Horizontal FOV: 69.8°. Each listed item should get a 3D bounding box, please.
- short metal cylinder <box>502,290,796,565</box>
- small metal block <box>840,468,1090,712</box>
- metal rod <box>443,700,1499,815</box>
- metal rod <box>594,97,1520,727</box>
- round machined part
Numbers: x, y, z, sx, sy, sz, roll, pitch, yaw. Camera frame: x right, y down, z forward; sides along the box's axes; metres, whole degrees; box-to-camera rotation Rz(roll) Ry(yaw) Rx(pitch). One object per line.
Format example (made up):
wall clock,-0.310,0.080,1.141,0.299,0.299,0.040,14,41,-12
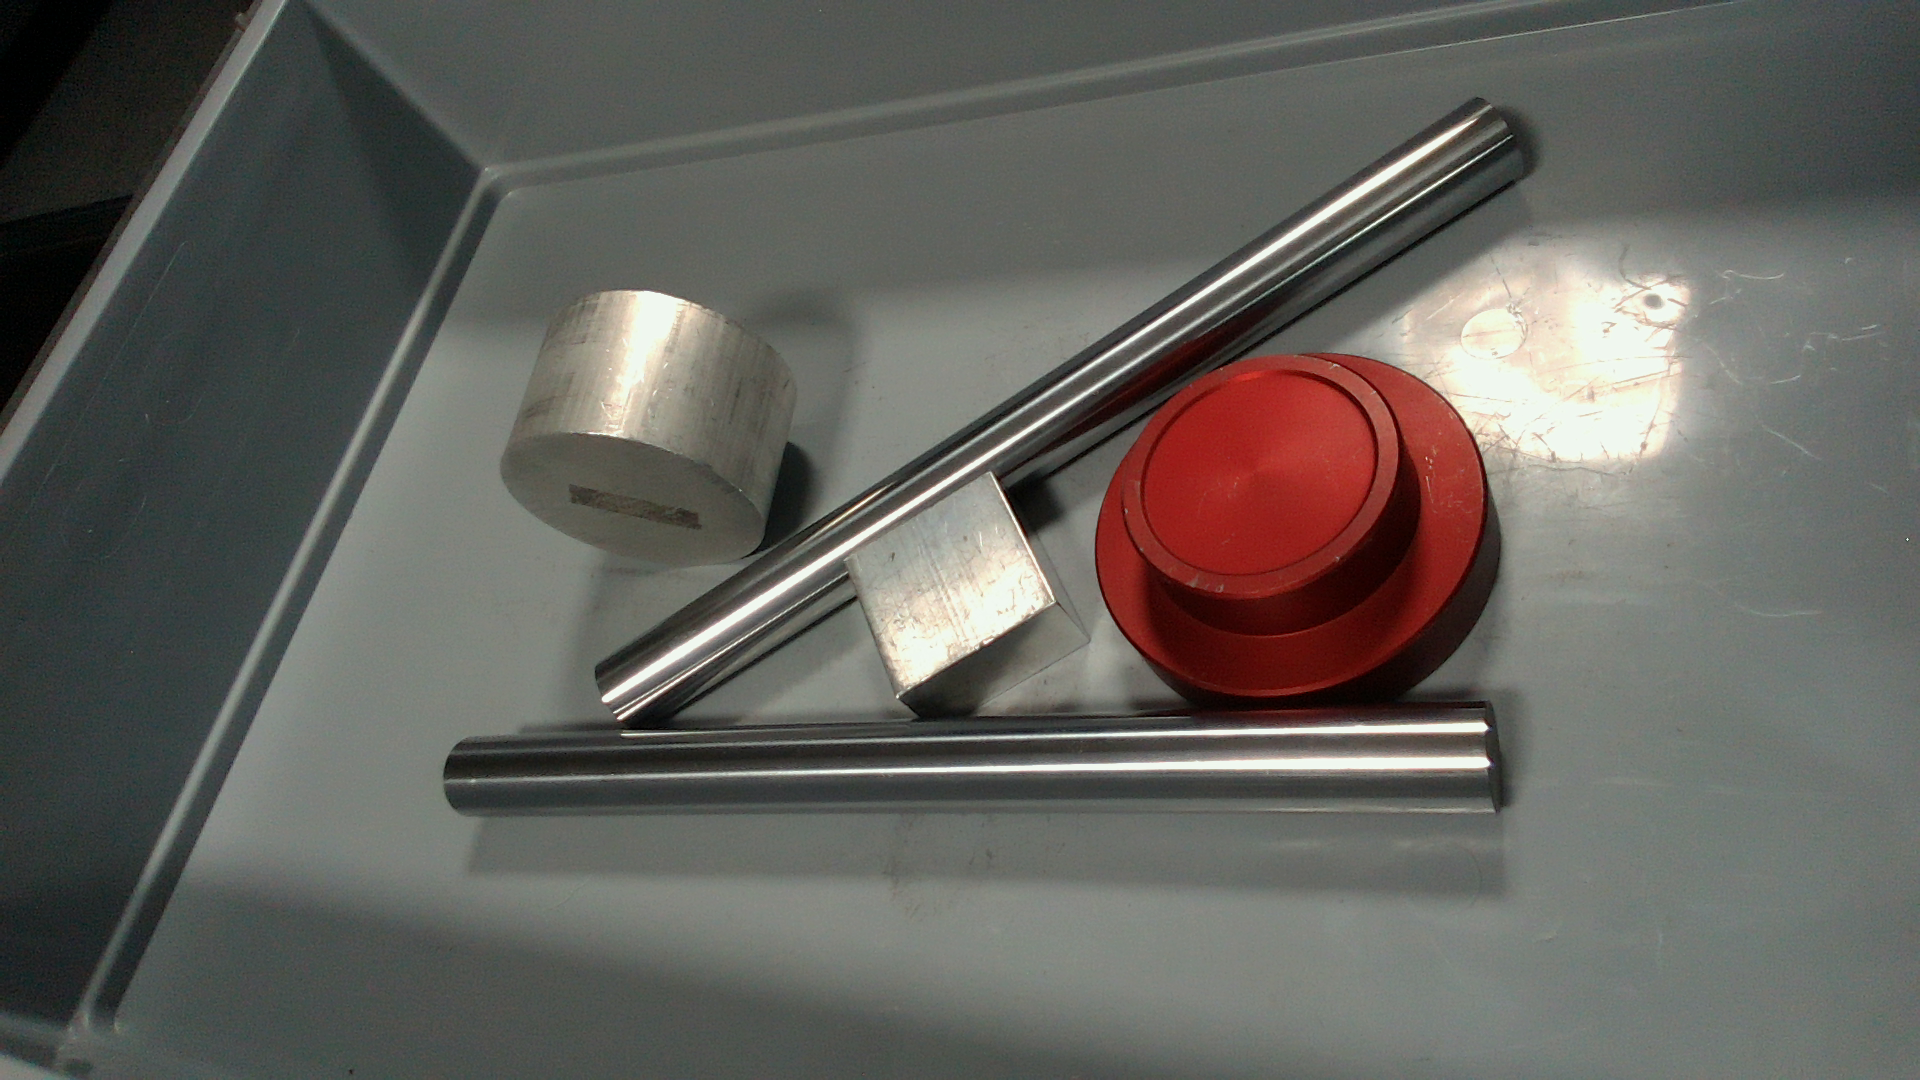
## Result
short metal cylinder,-0.095,-0.033,0.430,0.080,0.080,0.050,-5,59,26
small metal block,0.001,0.017,0.381,0.050,0.025,0.050,-31,51,8
metal rod,-0.018,0.060,0.365,0.299,0.025,0.025,-6,59,26
metal rod,0.022,-0.032,0.400,0.300,0.025,0.025,-32,51,7
round machined part,0.078,-0.007,0.341,0.098,0.042,0.098,-13,56,21
